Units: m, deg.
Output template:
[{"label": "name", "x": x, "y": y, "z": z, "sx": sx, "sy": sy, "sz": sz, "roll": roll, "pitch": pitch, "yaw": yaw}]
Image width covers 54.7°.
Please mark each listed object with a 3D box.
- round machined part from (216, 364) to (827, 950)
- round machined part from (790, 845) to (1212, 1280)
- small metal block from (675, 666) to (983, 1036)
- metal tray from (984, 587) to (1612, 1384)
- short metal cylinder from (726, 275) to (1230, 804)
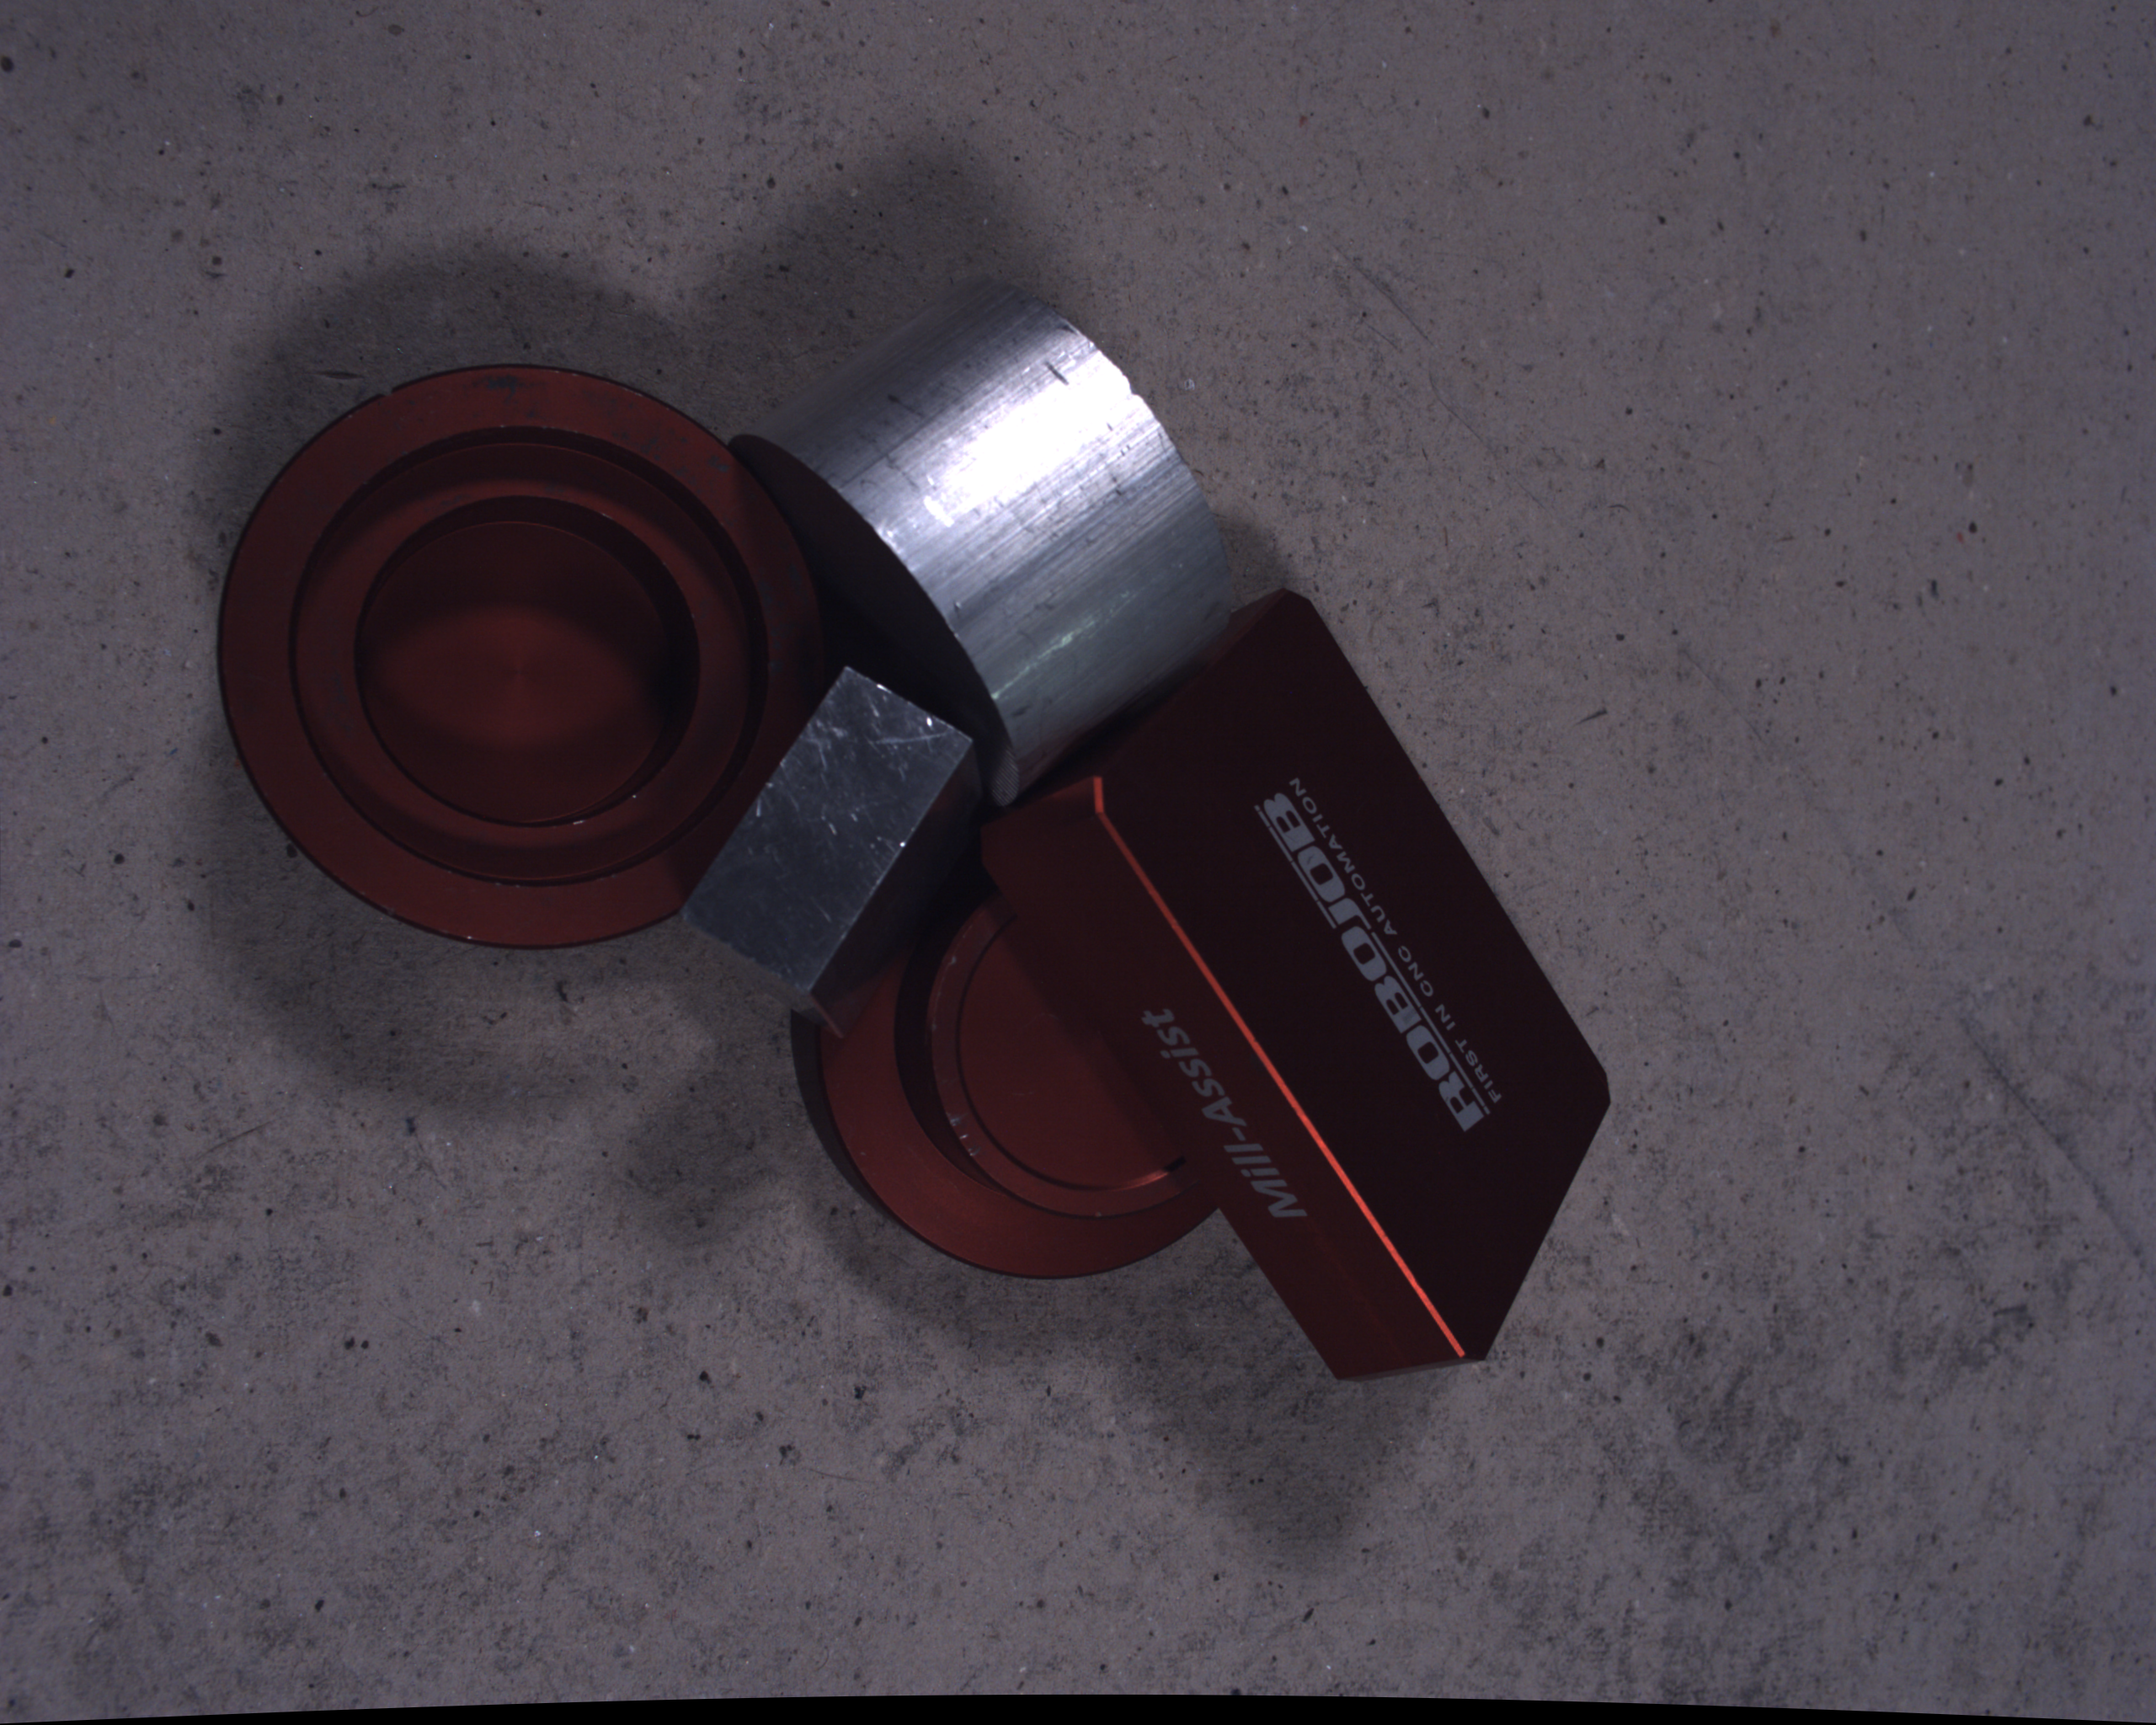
[{"label": "round machined part", "x": -0.097, "y": -0.034, "z": 0.366, "sx": 0.099, "sy": 0.042, "sz": 0.097, "roll": 0, "pitch": 90, "yaw": -21}, {"label": "round machined part", "x": -0.002, "y": 0.032, "z": 0.401, "sx": 0.099, "sy": 0.042, "sz": 0.097, "roll": 0, "pitch": 90, "yaw": -21}, {"label": "small metal block", "x": -0.041, "y": 0.000, "z": 0.364, "sx": 0.025, "sy": 0.050, "sz": 0.050, "roll": 31, "pitch": 79, "yaw": 7}, {"label": "metal tray", "x": 0.048, "y": 0.022, "z": 0.403, "sx": 0.130, "sy": 0.030, "sz": 0.090, "roll": 56, "pitch": 42, "yaw": -12}, {"label": "short metal cylinder", "x": -0.019, "y": -0.057, "z": 0.376, "sx": 0.050, "sy": 0.080, "sz": 0.080, "roll": -40, "pitch": 103, "yaw": -16}]
